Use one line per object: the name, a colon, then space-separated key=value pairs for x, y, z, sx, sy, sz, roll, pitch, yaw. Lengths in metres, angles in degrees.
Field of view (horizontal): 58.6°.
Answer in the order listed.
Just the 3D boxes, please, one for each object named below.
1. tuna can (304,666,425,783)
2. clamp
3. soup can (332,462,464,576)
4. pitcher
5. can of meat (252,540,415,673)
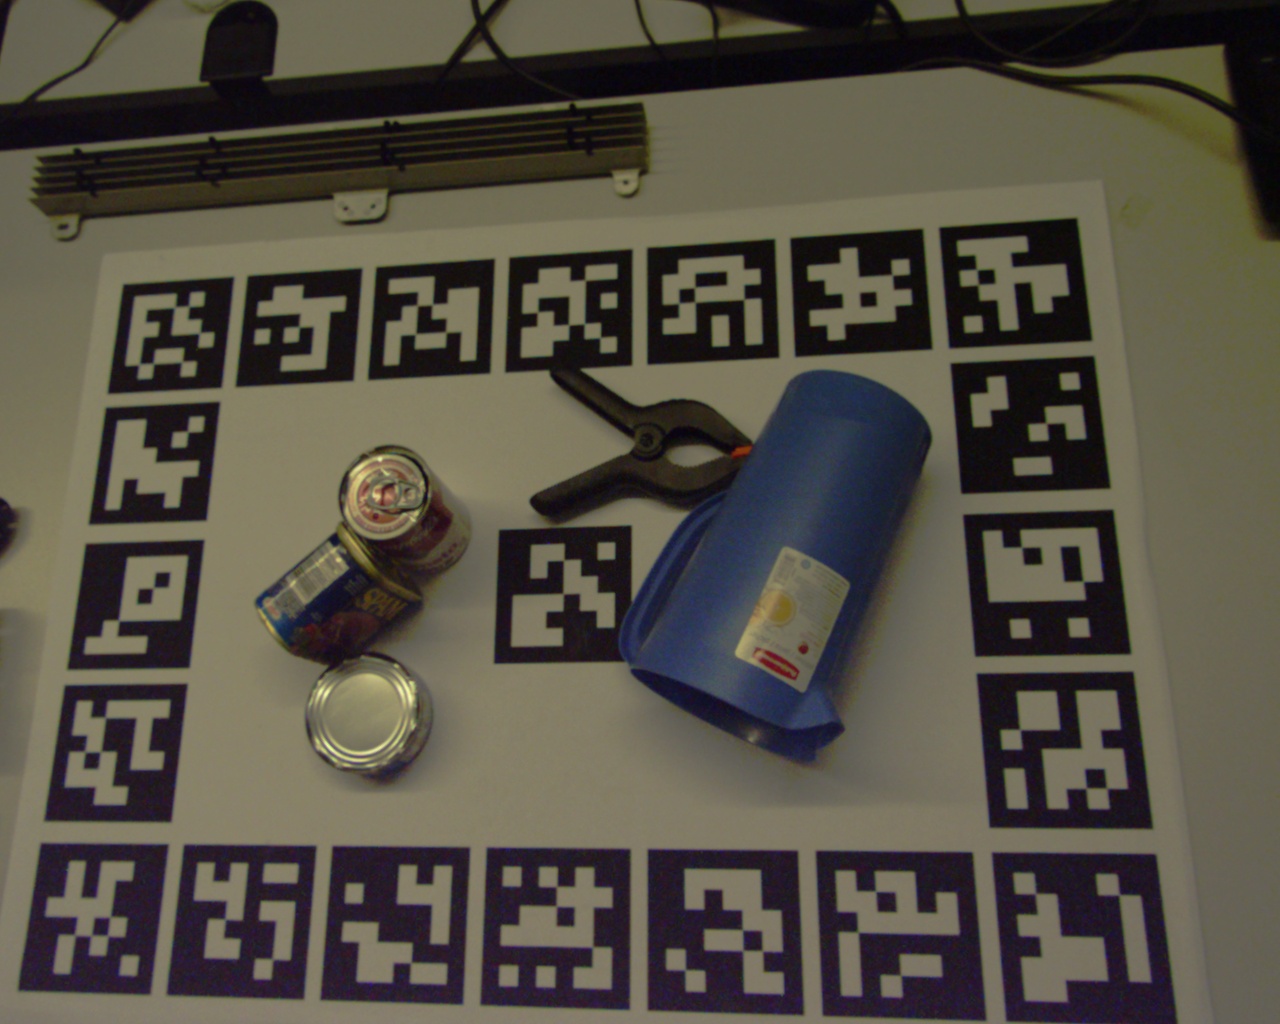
tuna can: x=-0.207 y=0.161 z=0.863 sx=0.086 sy=0.033 sz=0.086 roll=-2 pitch=76 yaw=8
clamp: x=-0.021 y=-0.042 z=0.901 sx=0.165 sy=0.036 sz=0.122 roll=1 pitch=70 yaw=6
soup can: x=-0.182 y=0.008 z=0.870 sx=0.068 sy=0.101 sz=0.068 roll=-3 pitch=76 yaw=10
pitcher: x=0.082 y=0.046 z=0.795 sx=0.191 sy=0.131 sz=0.242 roll=13 pitch=68 yaw=35
can of meat: x=-0.230 y=0.074 z=0.853 sx=0.084 sy=0.101 sz=0.058 roll=-37 pitch=74 yaw=1
